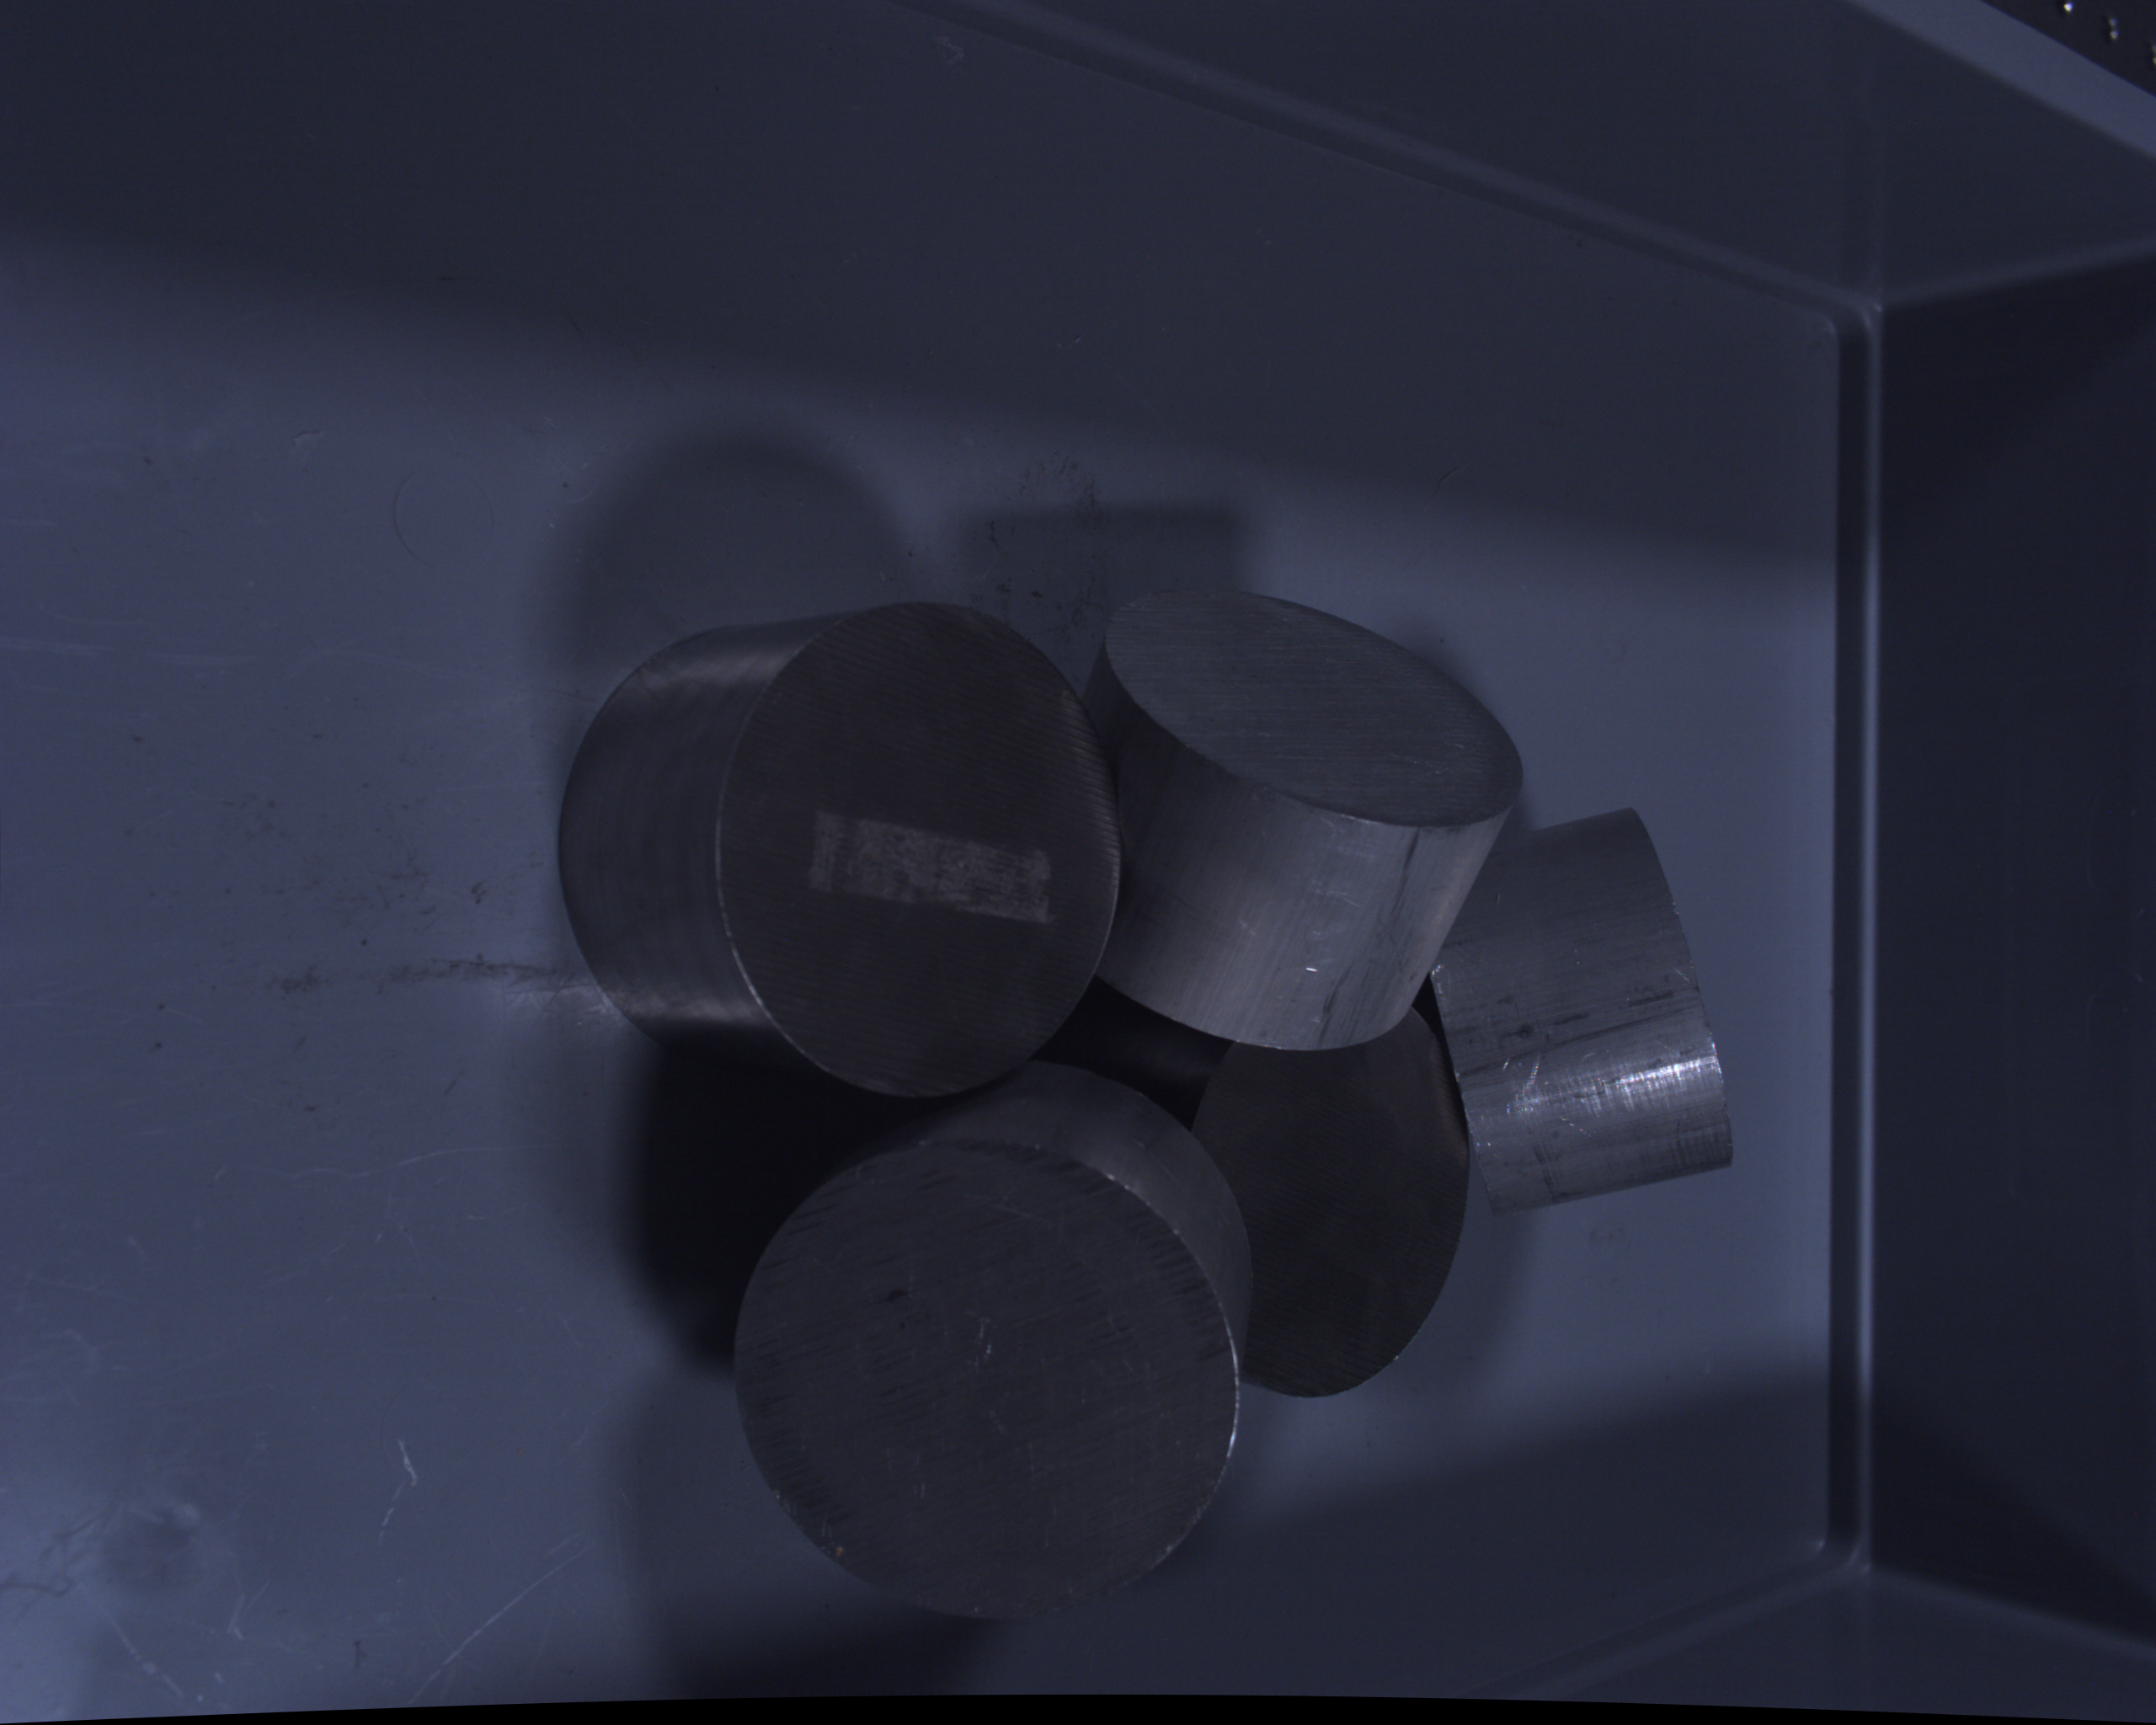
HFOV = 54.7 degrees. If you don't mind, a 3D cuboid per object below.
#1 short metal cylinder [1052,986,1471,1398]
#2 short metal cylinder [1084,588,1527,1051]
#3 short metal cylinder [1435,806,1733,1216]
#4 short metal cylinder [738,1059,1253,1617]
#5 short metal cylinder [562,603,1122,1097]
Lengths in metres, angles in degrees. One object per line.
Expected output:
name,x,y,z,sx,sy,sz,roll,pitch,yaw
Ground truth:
short metal cylinder,0.033,0.062,0.418,0.081,0.050,0.079,0,90,-40
short metal cylinder,0.036,-0.010,0.392,0.081,0.080,0.050,-11,133,-40
short metal cylinder,0.106,0.032,0.453,0.080,0.050,0.080,-15,91,-81
short metal cylinder,-0.011,0.078,0.353,0.050,0.080,0.079,-51,133,-79
short metal cylinder,-0.039,-0.002,0.356,0.081,0.050,0.079,0,90,-40
